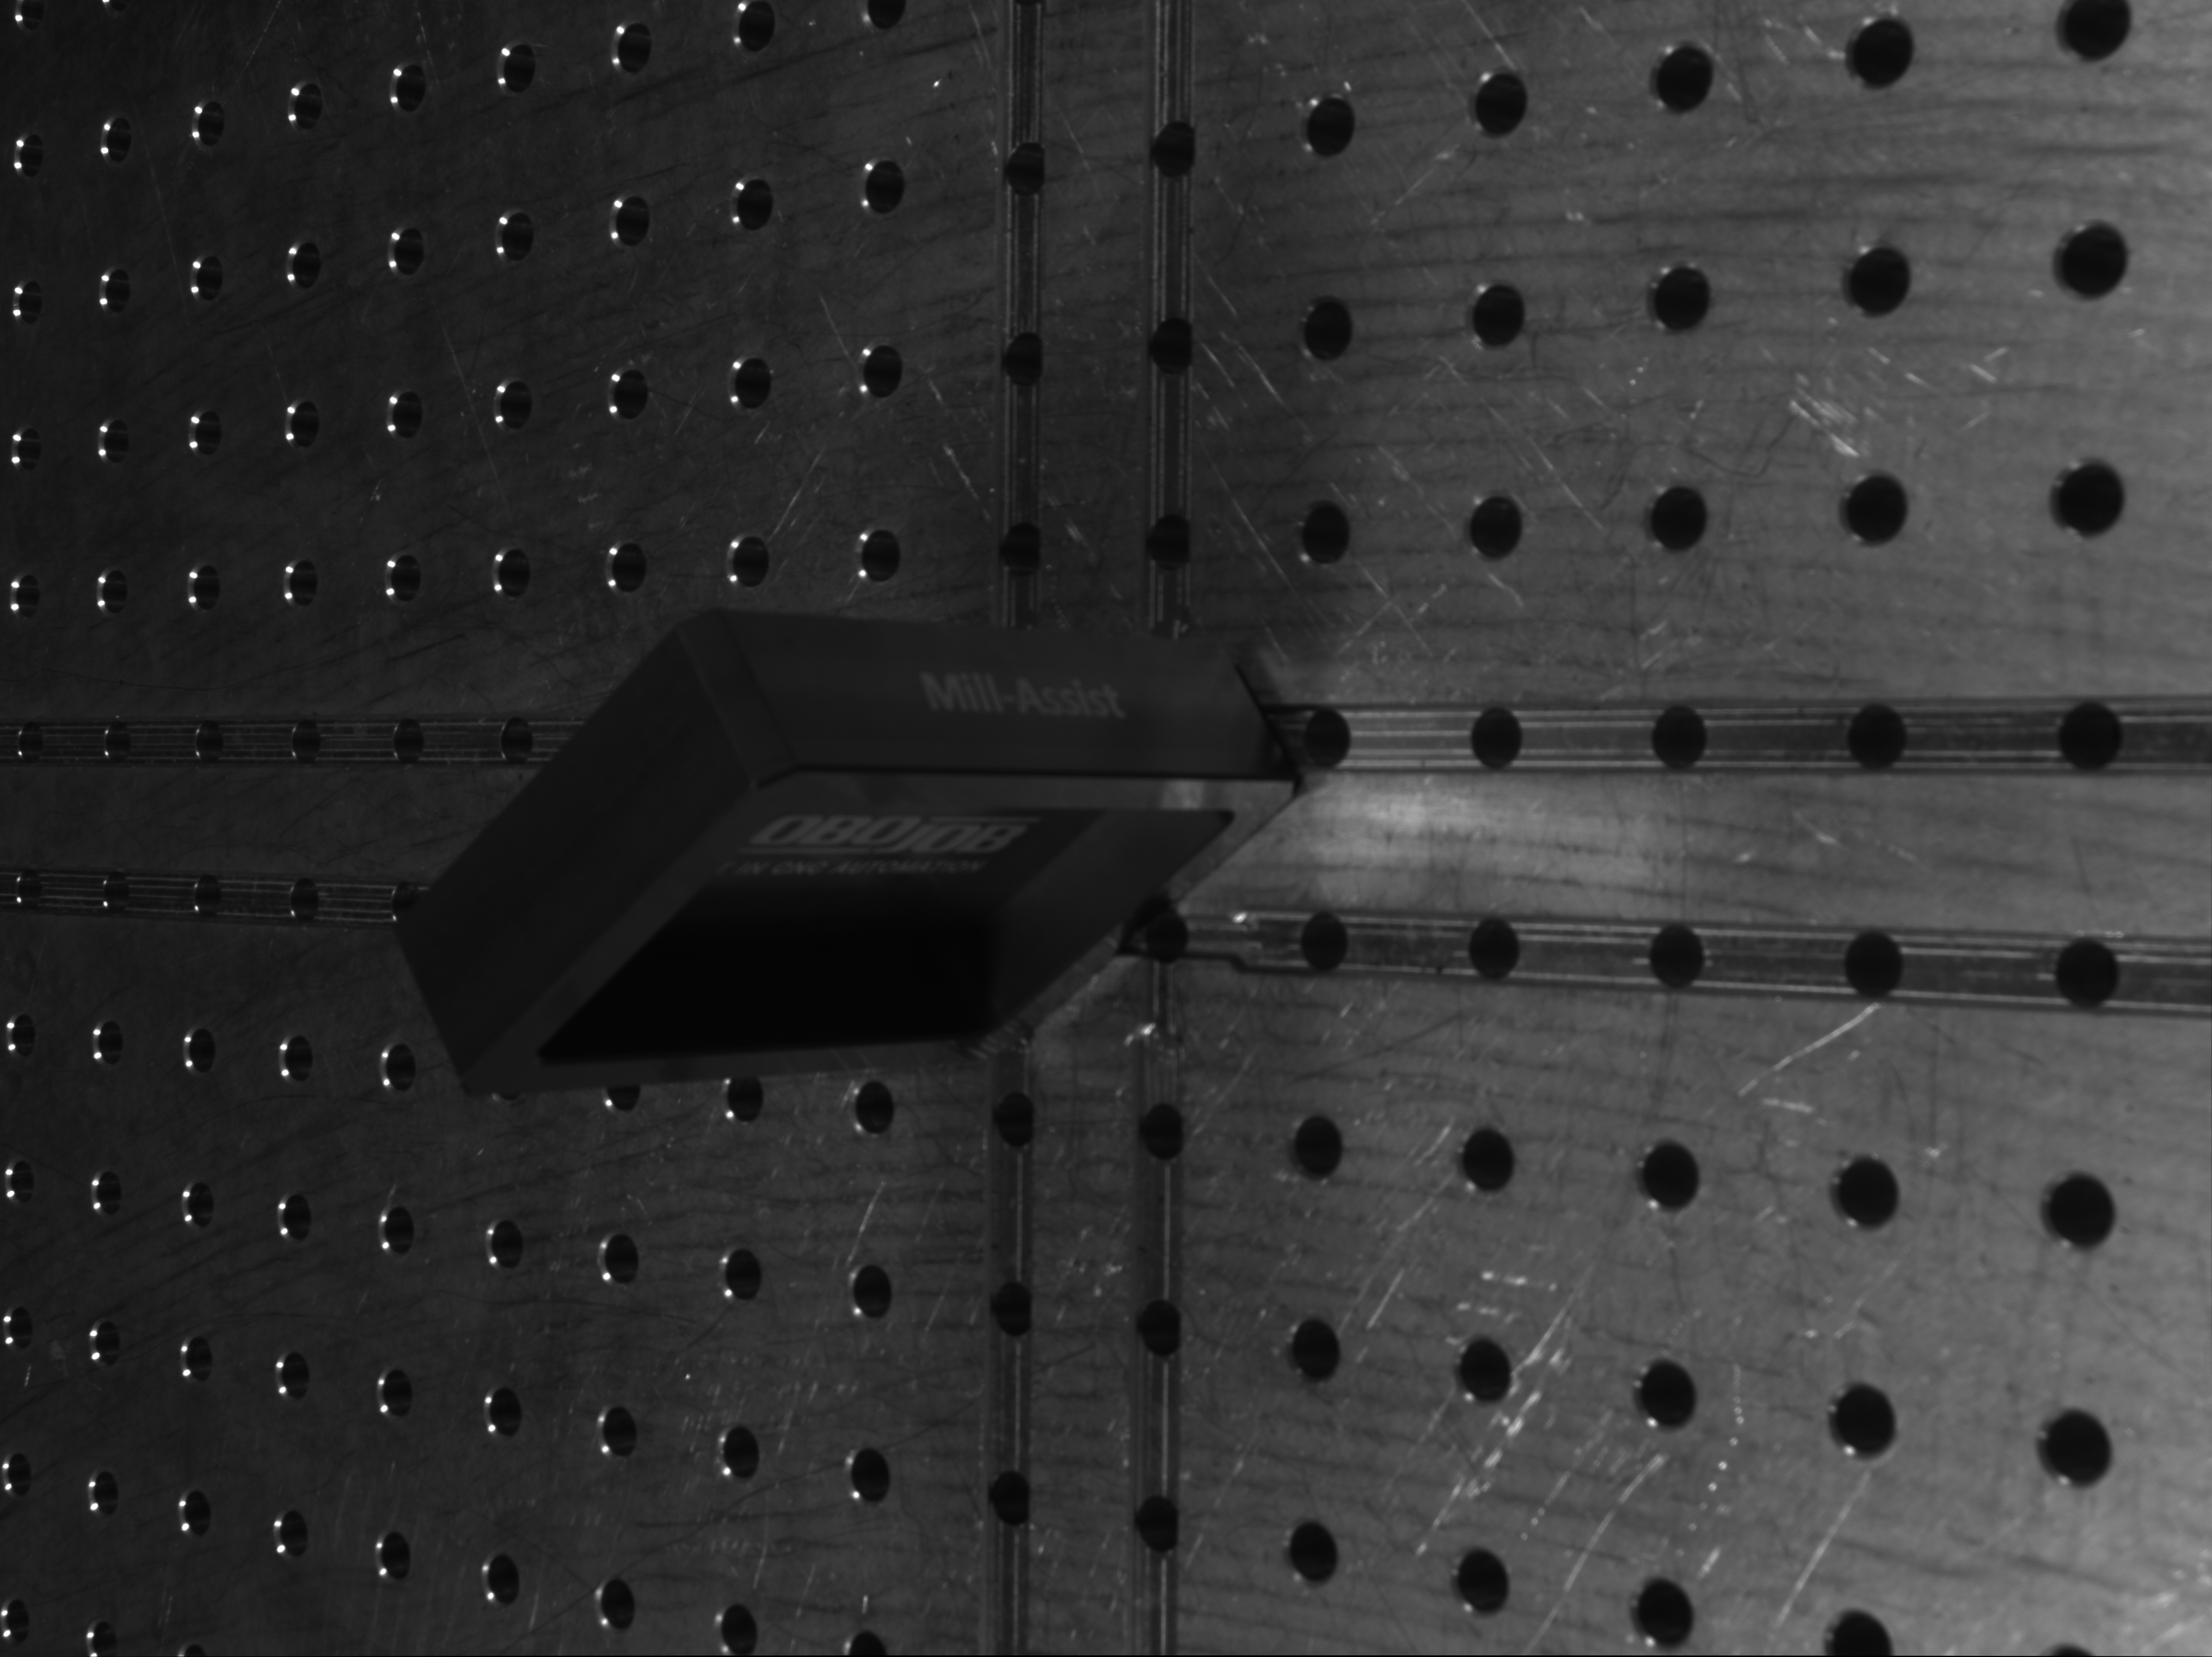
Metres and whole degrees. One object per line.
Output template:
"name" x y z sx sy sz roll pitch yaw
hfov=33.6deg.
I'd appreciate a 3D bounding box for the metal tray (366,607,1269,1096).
"metal tray" -0.045 0.005 0.608 0.090 0.130 0.030 -42 64 31
